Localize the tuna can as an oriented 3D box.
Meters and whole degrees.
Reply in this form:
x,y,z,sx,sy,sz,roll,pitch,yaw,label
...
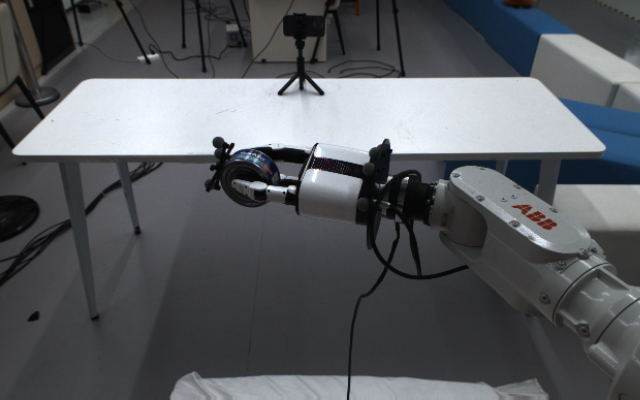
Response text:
x,y,z,sx,sy,sz,roll,pitch,yaw,label
-0.104,-0.029,0.721,0.085,0.085,0.034,9,36,10,tuna can
